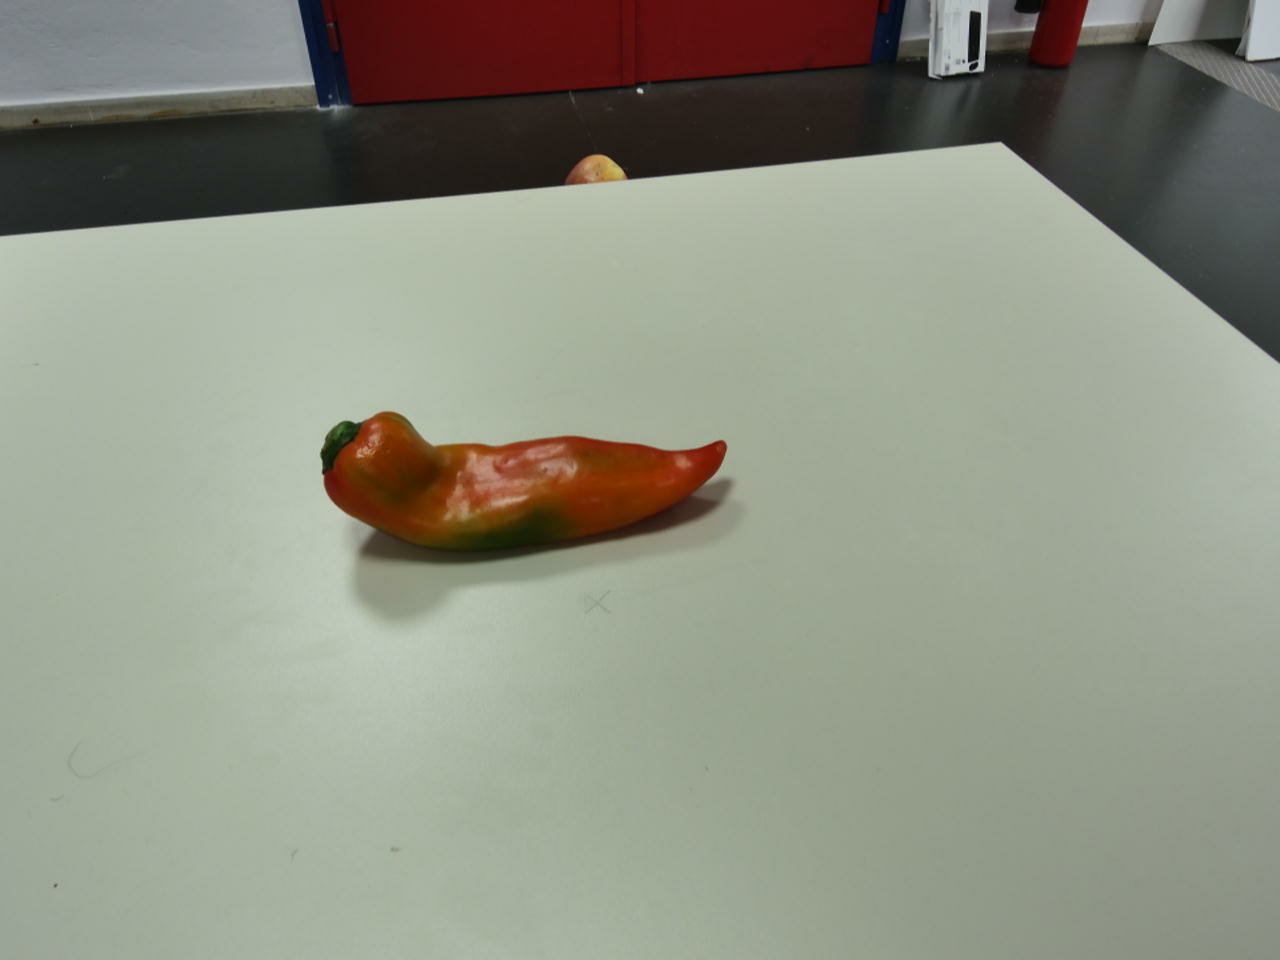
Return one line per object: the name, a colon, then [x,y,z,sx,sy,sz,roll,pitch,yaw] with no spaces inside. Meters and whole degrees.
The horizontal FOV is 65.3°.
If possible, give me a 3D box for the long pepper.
long pepper: [-0.054,-0.008,0.492,0.199,0.065,0.066,-5,39,-6]
